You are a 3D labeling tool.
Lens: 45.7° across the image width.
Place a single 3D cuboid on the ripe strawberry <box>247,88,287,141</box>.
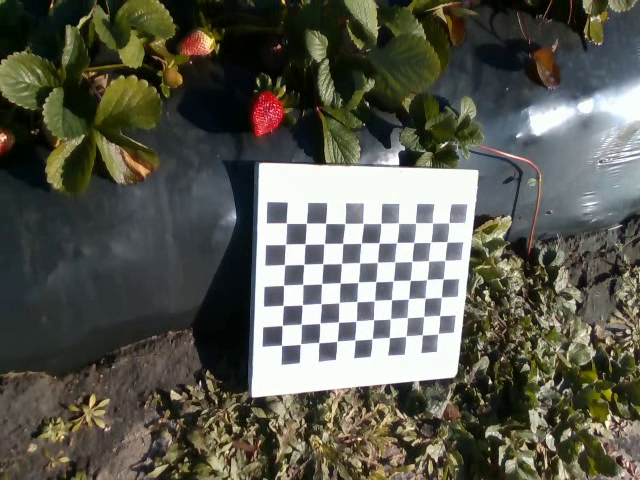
[{"bbox_3d":[-0.062,-0.132,0.795,0.058,0.066,0.062,-34,28,16],"label":"ripe strawberry"}]
